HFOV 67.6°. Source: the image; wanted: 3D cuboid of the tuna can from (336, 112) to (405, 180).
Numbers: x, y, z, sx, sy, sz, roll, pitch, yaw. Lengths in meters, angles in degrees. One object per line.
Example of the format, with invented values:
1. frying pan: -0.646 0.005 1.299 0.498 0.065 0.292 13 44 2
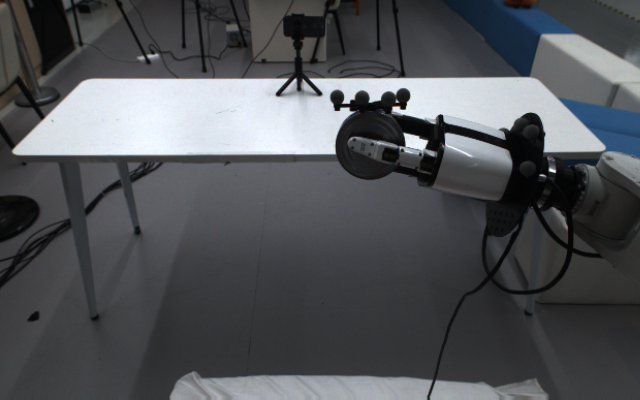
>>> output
1. tuna can: 0.064 -0.071 0.609 0.085 0.085 0.034 4 18 3
